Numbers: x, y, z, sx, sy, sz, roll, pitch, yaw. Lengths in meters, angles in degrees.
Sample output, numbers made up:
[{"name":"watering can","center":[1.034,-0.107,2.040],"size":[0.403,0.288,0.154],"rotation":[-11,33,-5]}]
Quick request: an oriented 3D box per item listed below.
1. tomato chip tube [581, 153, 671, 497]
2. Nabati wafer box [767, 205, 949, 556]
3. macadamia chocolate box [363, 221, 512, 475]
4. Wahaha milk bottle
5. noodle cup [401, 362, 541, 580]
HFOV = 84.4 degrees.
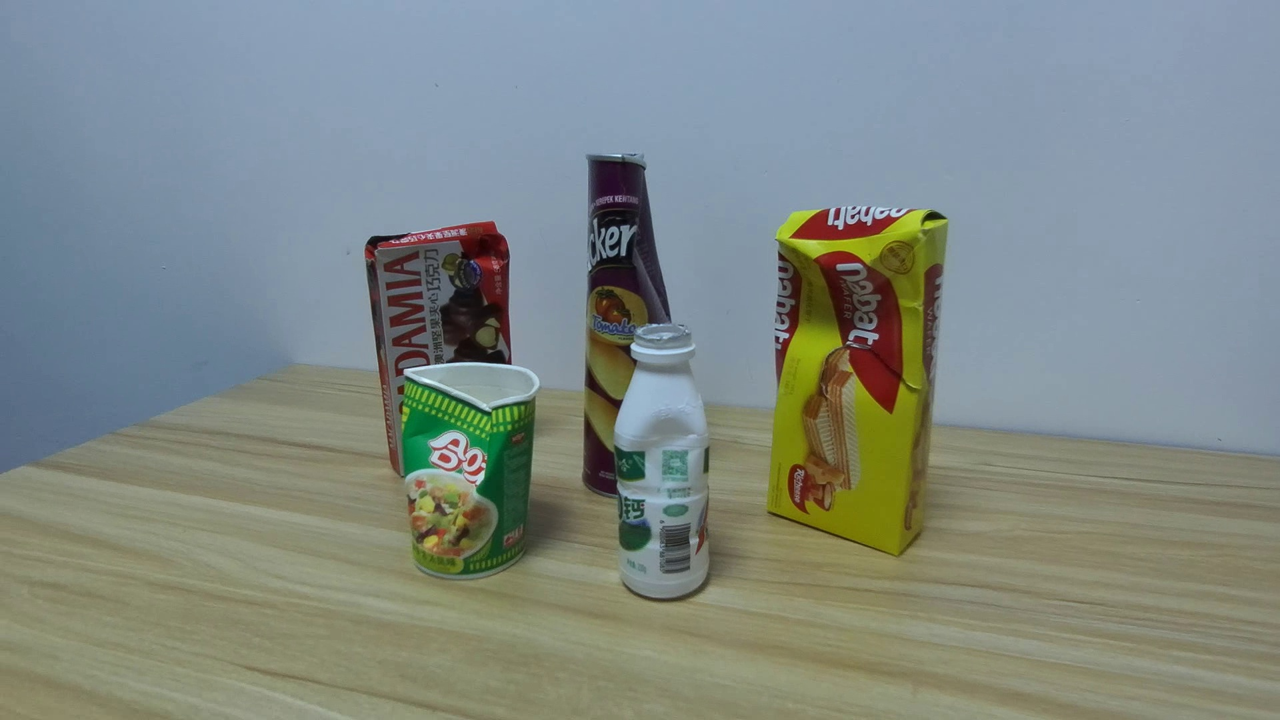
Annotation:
[{"name":"tomato chip tube","center":[-0.005,-0.023,0.504],"size":[0.078,0.235,0.076],"rotation":[-12,18,-38]},{"name":"Nabati wafer box","center":[0.127,0.010,0.436],"size":[0.106,0.204,0.042],"rotation":[13,23,38]},{"name":"macadamia chocolate box","center":[-0.147,-0.009,0.540],"size":[0.103,0.187,0.027],"rotation":[-10,25,-29]},{"name":"Wahaha milk bottle","center":[0.011,0.055,0.388],"size":[0.055,0.149,0.055],"rotation":[-2,17,1]},{"name":"noodle cup","center":[-0.103,0.065,0.426],"size":[0.075,0.122,0.082],"rotation":[0,8,-21]}]
